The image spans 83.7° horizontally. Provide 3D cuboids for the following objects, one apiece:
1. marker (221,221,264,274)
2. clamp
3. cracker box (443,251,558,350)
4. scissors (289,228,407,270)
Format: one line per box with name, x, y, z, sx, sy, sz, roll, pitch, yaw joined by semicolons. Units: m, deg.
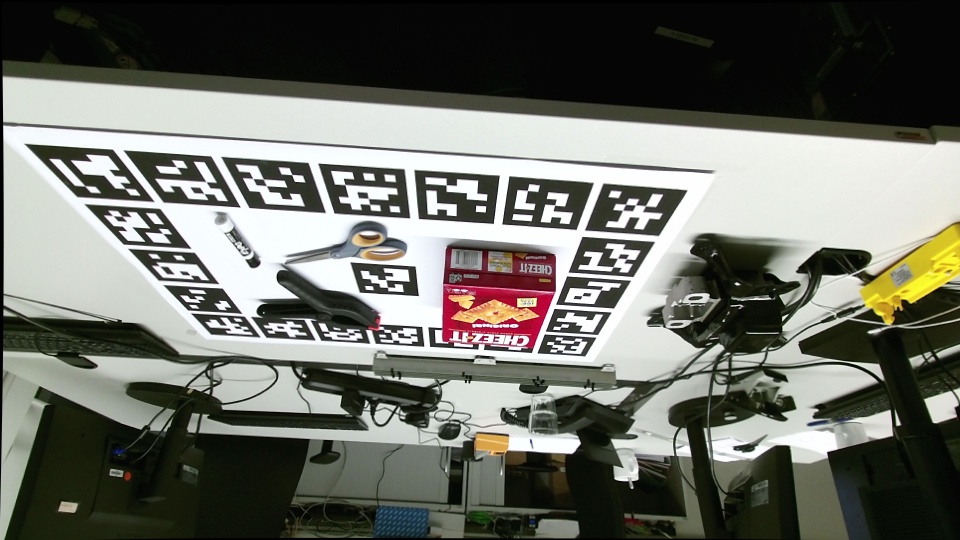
marker;-0.347;-0.029;0.788;0.020;0.019;0.121;1;149;1
clamp;-0.265;0.071;0.959;0.204;0.036;0.165;21;145;-27
cracker box;0.023;0.058;0.860;0.165;0.071;0.214;4;149;-3
scissors;-0.204;-0.019;0.797;0.203;0.016;0.088;-11;148;24
